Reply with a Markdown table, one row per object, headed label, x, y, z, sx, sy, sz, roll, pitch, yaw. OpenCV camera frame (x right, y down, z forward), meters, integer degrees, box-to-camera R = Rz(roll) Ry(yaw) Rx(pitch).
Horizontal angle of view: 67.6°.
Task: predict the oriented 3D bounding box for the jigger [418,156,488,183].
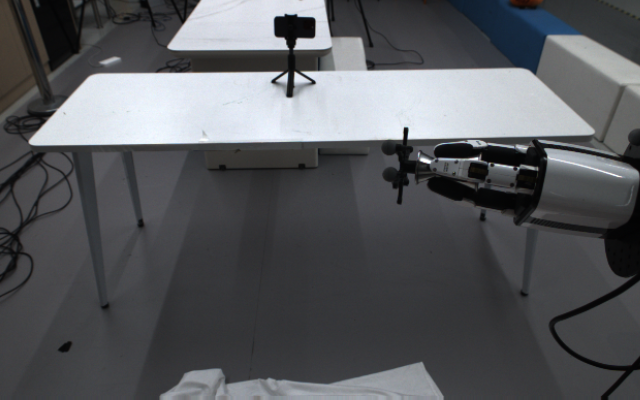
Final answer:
| label | x | y | z | sx | sy | sz | roll | pitch | yaw |
| --- | --- | --- | --- | --- | --- | --- | --- | --- | --- |
| jigger | 0.152 | -0.039 | 0.546 | 0.071 | 0.043 | 0.043 | 5 | 34 | 19 |
